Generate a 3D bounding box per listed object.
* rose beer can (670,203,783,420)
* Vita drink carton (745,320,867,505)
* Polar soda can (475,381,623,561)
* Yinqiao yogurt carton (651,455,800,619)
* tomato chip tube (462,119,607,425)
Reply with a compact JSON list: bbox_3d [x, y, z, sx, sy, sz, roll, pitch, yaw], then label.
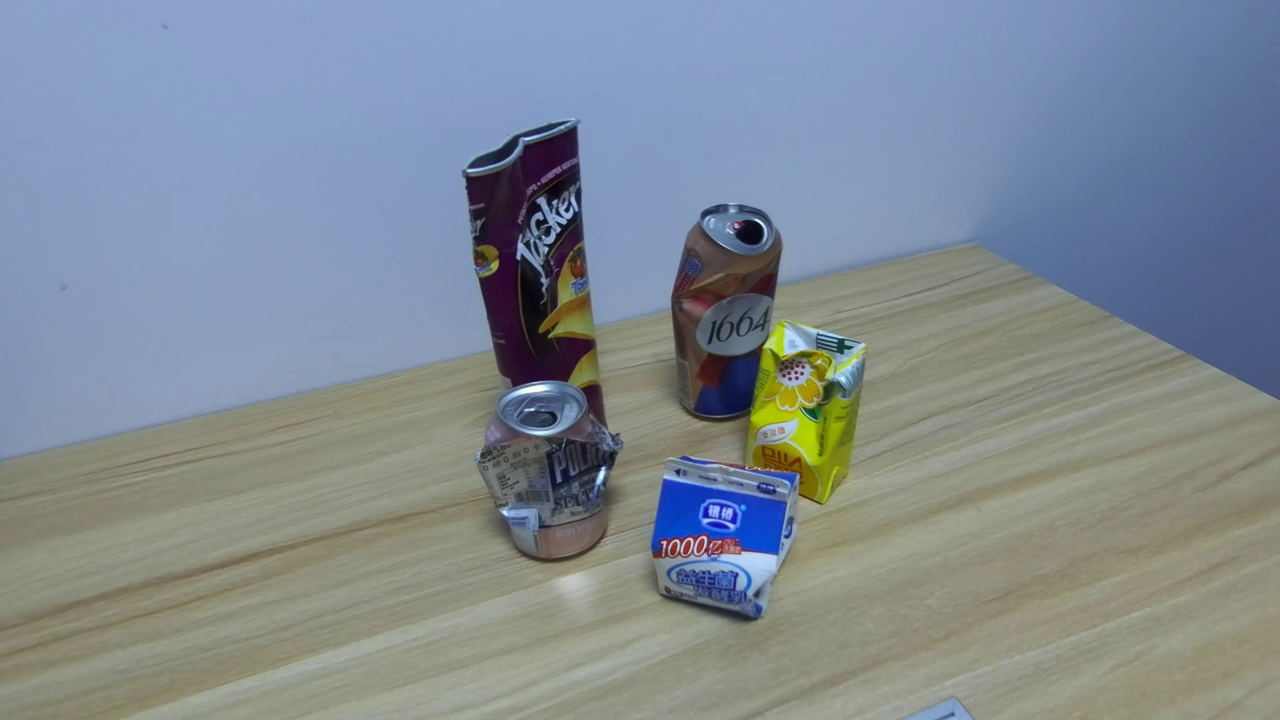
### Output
[{"bbox_3d":[0.065,-0.033,0.539,0.069,0.168,0.069,11,38,15],"label":"rose beer can"},{"bbox_3d":[0.111,0.036,0.483,0.071,0.110,0.046,21,38,34],"label":"Vita drink carton"},{"bbox_3d":[-0.055,0.069,0.449,0.070,0.114,0.074,19,43,22],"label":"Polar soda can"},{"bbox_3d":[0.051,0.095,0.410,0.074,0.097,0.080,8,42,17],"label":"Yinqiao yogurt carton"},{"bbox_3d":[-0.069,-0.037,0.499,0.090,0.236,0.077,-11,36,-16],"label":"tomato chip tube"}]
